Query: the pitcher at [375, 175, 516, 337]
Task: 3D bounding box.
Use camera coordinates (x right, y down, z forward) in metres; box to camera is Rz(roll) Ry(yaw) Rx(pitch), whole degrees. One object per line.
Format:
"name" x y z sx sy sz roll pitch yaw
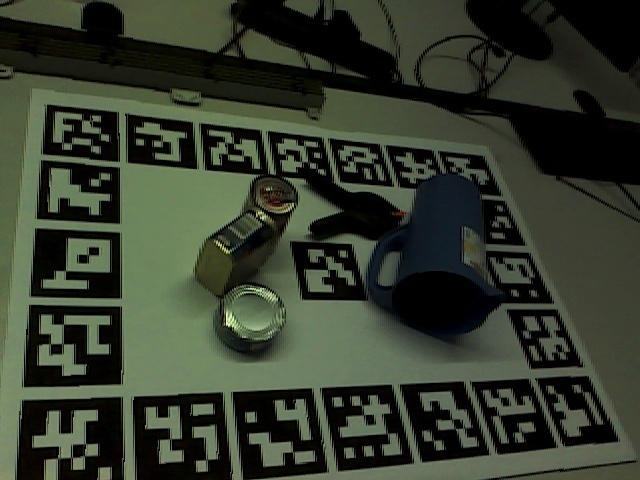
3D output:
"pitcher" 0.181 0.011 0.906 0.189 0.133 0.243 5 39 7

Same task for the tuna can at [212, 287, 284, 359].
"tuna can" -0.091 0.104 0.774 0.085 0.034 0.086 12 50 -16

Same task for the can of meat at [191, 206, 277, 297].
"can of meat" -0.111 0.017 0.788 0.058 0.102 0.083 44 52 13

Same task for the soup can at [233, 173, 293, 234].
"soup can" -0.084 -0.033 0.849 0.067 0.102 0.068 11 51 -14

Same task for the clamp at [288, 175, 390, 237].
"clamp" 0.035 -0.046 0.972 0.164 0.036 0.122 7 45 -24
